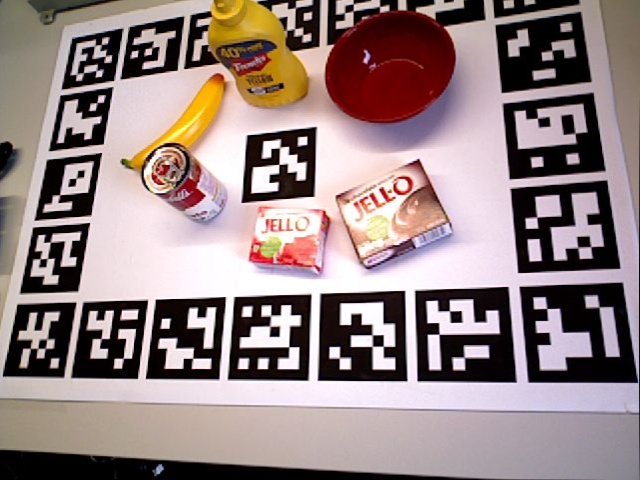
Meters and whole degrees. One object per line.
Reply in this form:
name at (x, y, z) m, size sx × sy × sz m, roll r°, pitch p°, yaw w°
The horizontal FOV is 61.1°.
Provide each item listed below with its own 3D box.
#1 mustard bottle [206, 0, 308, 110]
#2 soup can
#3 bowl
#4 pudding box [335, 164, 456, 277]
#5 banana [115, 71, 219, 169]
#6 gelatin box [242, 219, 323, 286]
mustard bottle at (-0.084, -0.238, 0.659) m, size 0.096 × 0.193 × 0.058 m, roll -2°, pitch 66°, yaw 15°
soup can at (-0.181, -0.072, 0.683) m, size 0.068 × 0.103 × 0.067 m, roll -5°, pitch 67°, yaw 12°
bowl at (0.100, -0.201, 0.680) m, size 0.162 × 0.055 × 0.160 m, roll -7°, pitch 69°, yaw 16°
pudding box at (0.086, -0.021, 0.628) m, size 0.114 × 0.039 × 0.089 m, roll -25°, pitch 72°, yaw 7°
banana at (-0.205, -0.161, 0.766) m, size 0.197 × 0.039 × 0.074 m, roll -47°, pitch 55°, yaw -3°
gelatin box at (-0.046, 0.014, 0.662) m, size 0.090 × 0.030 × 0.073 m, roll 4°, pitch 76°, yaw 19°
